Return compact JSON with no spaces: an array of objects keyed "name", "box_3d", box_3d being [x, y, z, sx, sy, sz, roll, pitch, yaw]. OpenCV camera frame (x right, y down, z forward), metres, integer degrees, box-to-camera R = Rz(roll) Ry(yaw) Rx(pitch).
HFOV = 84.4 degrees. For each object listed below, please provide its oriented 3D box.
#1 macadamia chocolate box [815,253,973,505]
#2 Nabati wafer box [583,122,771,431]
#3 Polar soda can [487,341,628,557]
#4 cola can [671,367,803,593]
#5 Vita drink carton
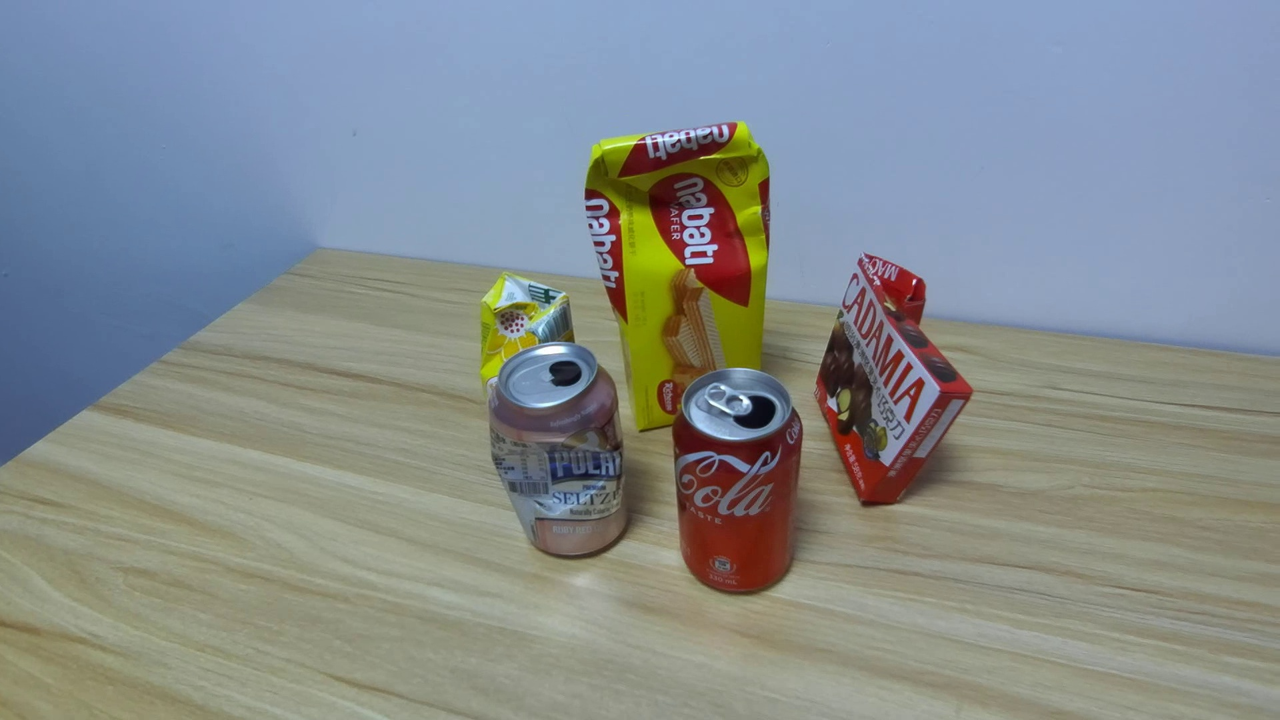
[{"name":"macadamia chocolate box","box_3d":[0.155,0.011,0.450,0.056,0.112,0.126,-3,37,1]},{"name":"Nabati wafer box","box_3d":[0.030,-0.047,0.464,0.113,0.205,0.042,-11,35,-5]},{"name":"Polar soda can","box_3d":[-0.042,0.054,0.409,0.074,0.122,0.067,24,46,34]},{"name":"cola can","box_3d":[0.052,0.066,0.382,0.068,0.120,0.067,-3,38,3]},{"name":"Vita drink carton","box_3d":[-0.080,0.002,0.494,0.071,0.110,0.046,21,41,32]}]
